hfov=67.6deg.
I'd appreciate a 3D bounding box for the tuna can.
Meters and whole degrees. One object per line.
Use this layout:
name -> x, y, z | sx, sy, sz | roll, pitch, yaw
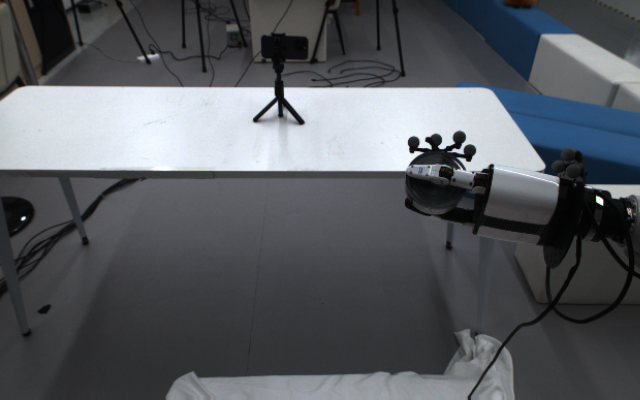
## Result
tuna can -> 0.163, -0.027, 0.682 | 0.085, 0.034, 0.085 | -2, 70, 7
